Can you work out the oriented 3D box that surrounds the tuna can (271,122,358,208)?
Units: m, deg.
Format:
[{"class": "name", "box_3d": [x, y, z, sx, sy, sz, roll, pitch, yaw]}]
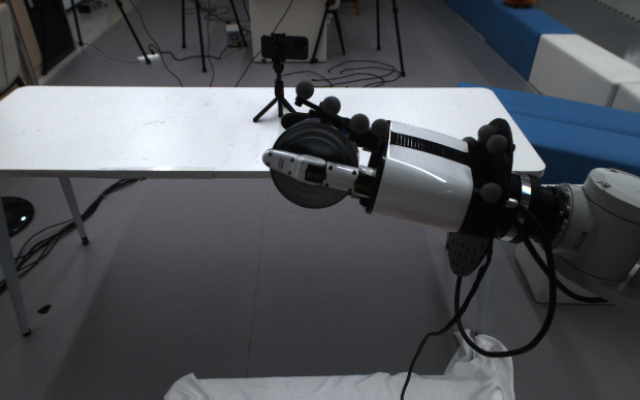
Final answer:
[{"class": "tuna can", "box_3d": [-0.001, -0.037, 0.477, 0.085, 0.085, 0.034, 7, 16, 6]}]
